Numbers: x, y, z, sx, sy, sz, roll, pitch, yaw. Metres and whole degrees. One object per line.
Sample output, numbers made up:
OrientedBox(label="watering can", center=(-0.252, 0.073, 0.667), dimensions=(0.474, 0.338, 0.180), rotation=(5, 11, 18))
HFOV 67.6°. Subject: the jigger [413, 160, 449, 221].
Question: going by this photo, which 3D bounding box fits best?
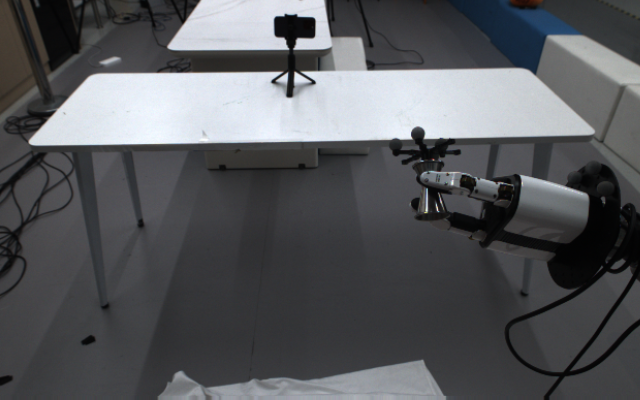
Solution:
OrientedBox(label="jigger", center=(0.138, -0.014, 0.602), dimensions=(0.043, 0.043, 0.071), rotation=(0, 75, -3))
